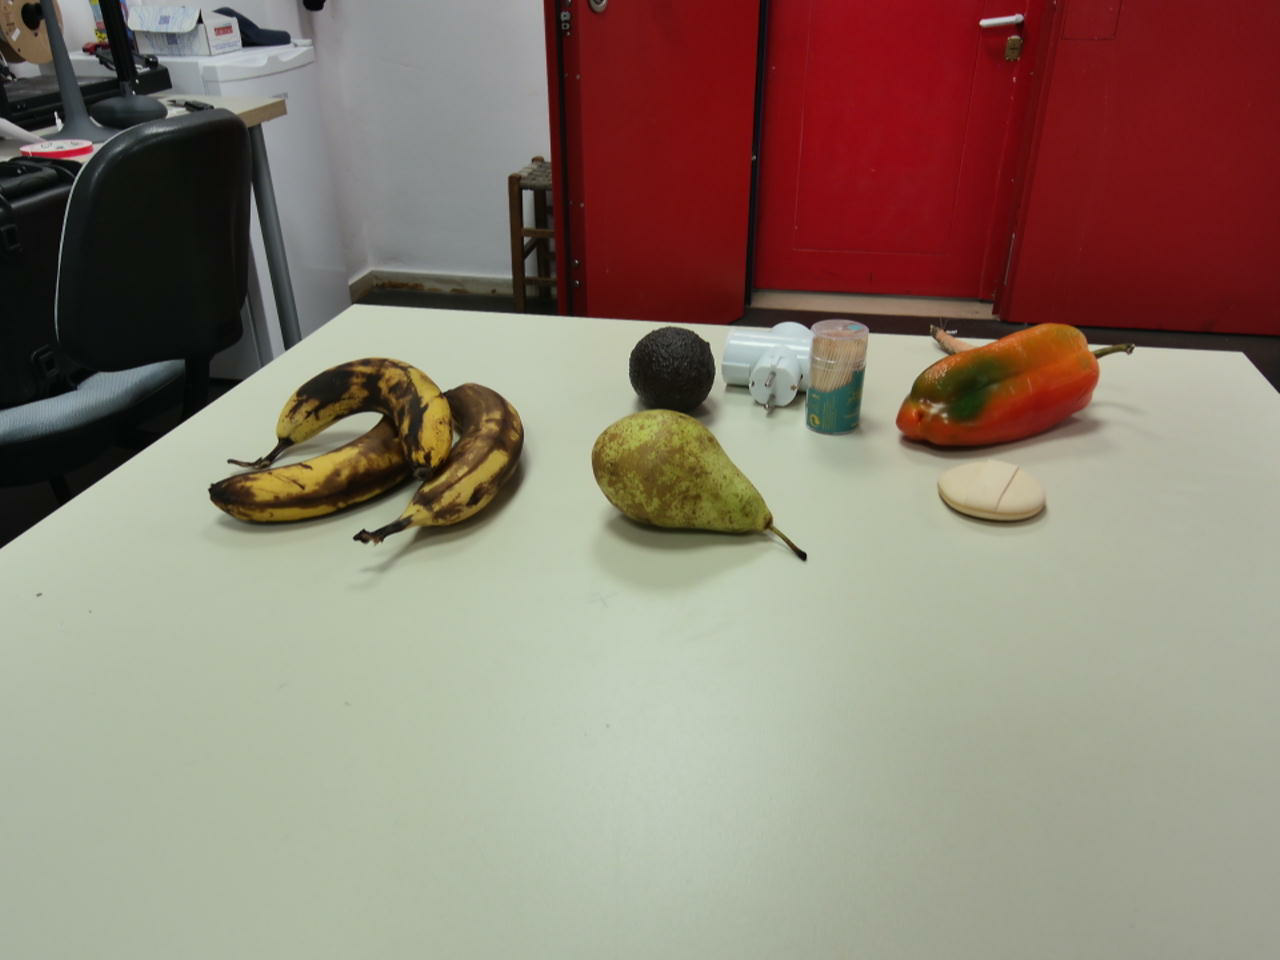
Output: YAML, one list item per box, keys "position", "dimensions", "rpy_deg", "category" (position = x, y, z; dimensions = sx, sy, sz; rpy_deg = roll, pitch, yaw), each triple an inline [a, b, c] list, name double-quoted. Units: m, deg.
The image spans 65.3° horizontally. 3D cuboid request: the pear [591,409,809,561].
- position: [0.035, -0.005, 0.600]
  dimensions: [0.128, 0.075, 0.071]
  rpy_deg: [2, 26, 4]
  category: "pear"
